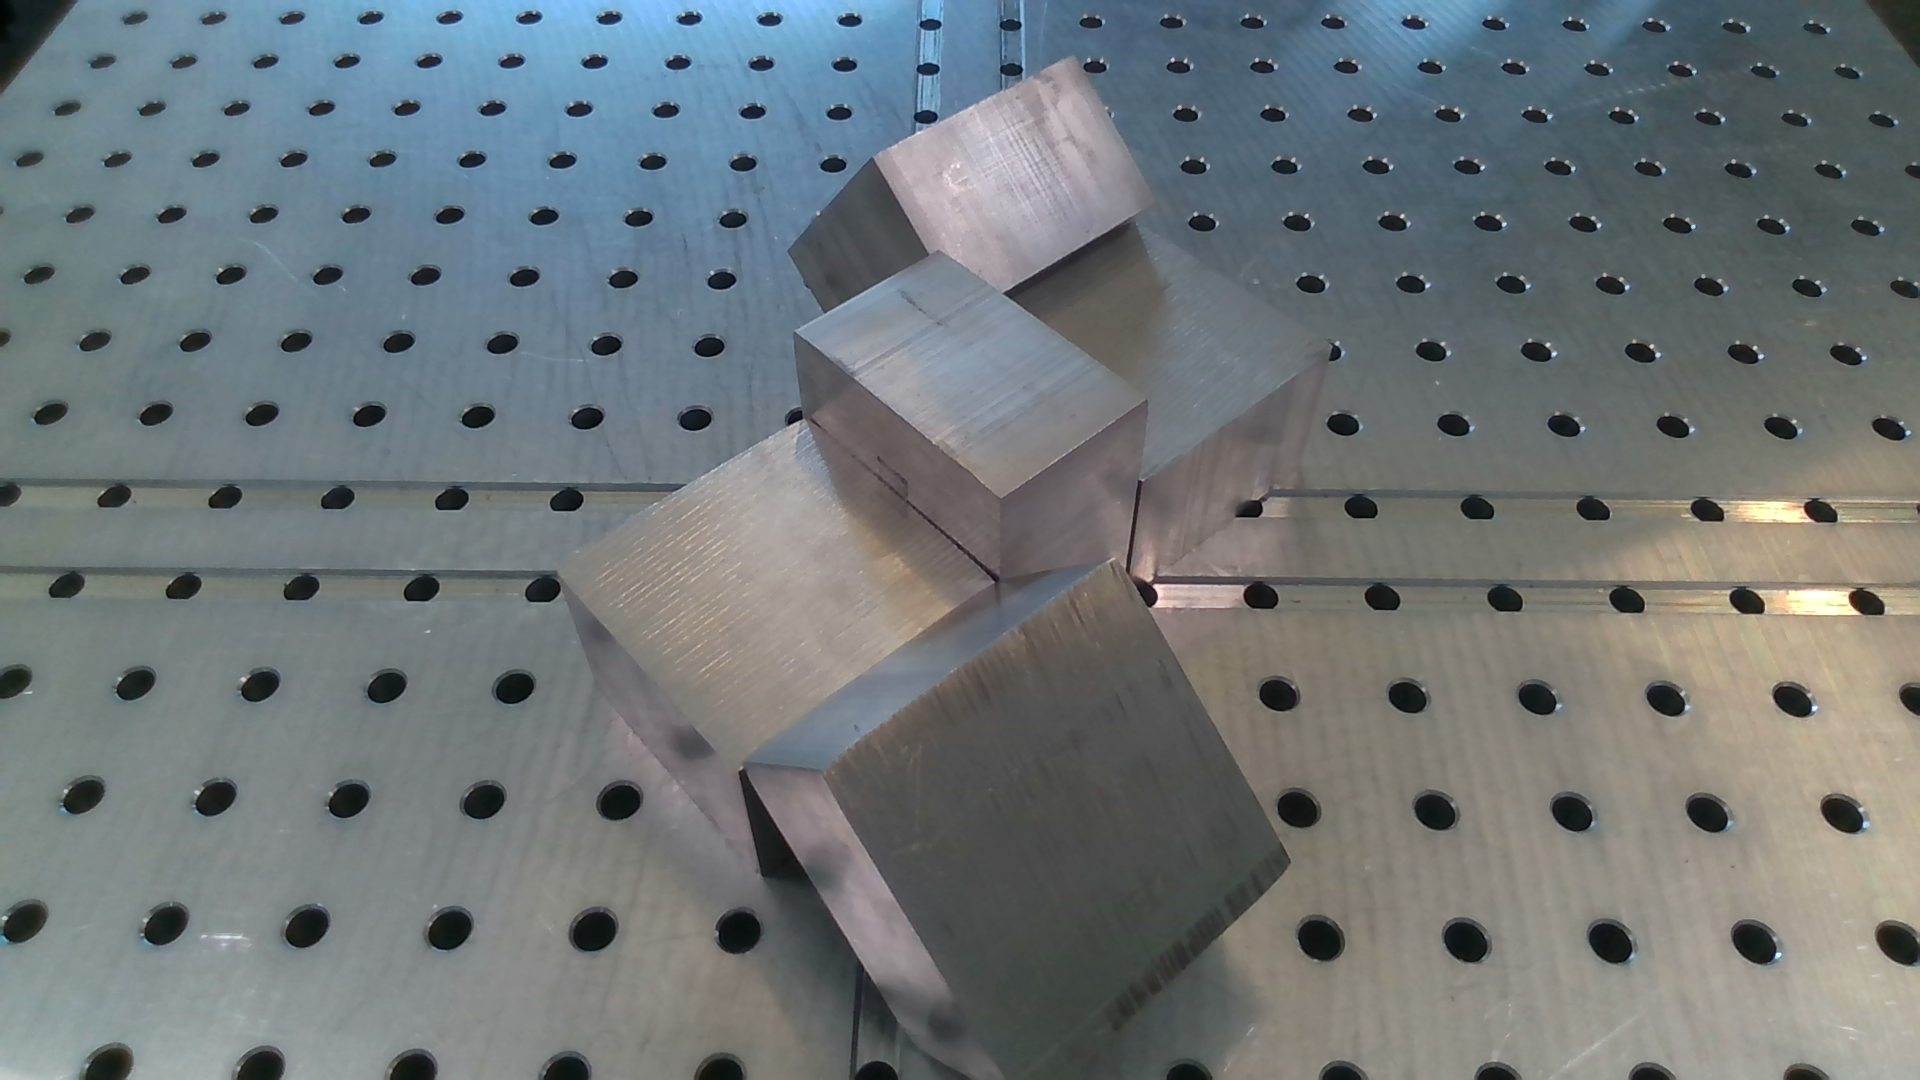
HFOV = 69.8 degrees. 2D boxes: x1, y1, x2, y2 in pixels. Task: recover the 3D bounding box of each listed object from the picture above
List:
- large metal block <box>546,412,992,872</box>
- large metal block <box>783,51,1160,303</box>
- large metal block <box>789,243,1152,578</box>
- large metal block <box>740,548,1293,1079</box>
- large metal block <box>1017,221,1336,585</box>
[{"bbox_3d":[-0.047,0.024,0.360,0.080,0.050,0.080,-33,57,-26],"label":"large metal block"},{"bbox_3d":[0.001,-0.100,0.435,0.080,0.080,0.050,-34,97,-25],"label":"large metal block"},{"bbox_3d":[0.002,-0.020,0.377,0.050,0.080,0.080,-36,59,-24],"label":"large metal block"},{"bbox_3d":[0.012,0.059,0.304,0.080,0.050,0.080,-34,98,-25],"label":"large metal block"},{"bbox_3d":[0.052,-0.042,0.416,0.080,0.050,0.080,-35,57,-25],"label":"large metal block"}]
